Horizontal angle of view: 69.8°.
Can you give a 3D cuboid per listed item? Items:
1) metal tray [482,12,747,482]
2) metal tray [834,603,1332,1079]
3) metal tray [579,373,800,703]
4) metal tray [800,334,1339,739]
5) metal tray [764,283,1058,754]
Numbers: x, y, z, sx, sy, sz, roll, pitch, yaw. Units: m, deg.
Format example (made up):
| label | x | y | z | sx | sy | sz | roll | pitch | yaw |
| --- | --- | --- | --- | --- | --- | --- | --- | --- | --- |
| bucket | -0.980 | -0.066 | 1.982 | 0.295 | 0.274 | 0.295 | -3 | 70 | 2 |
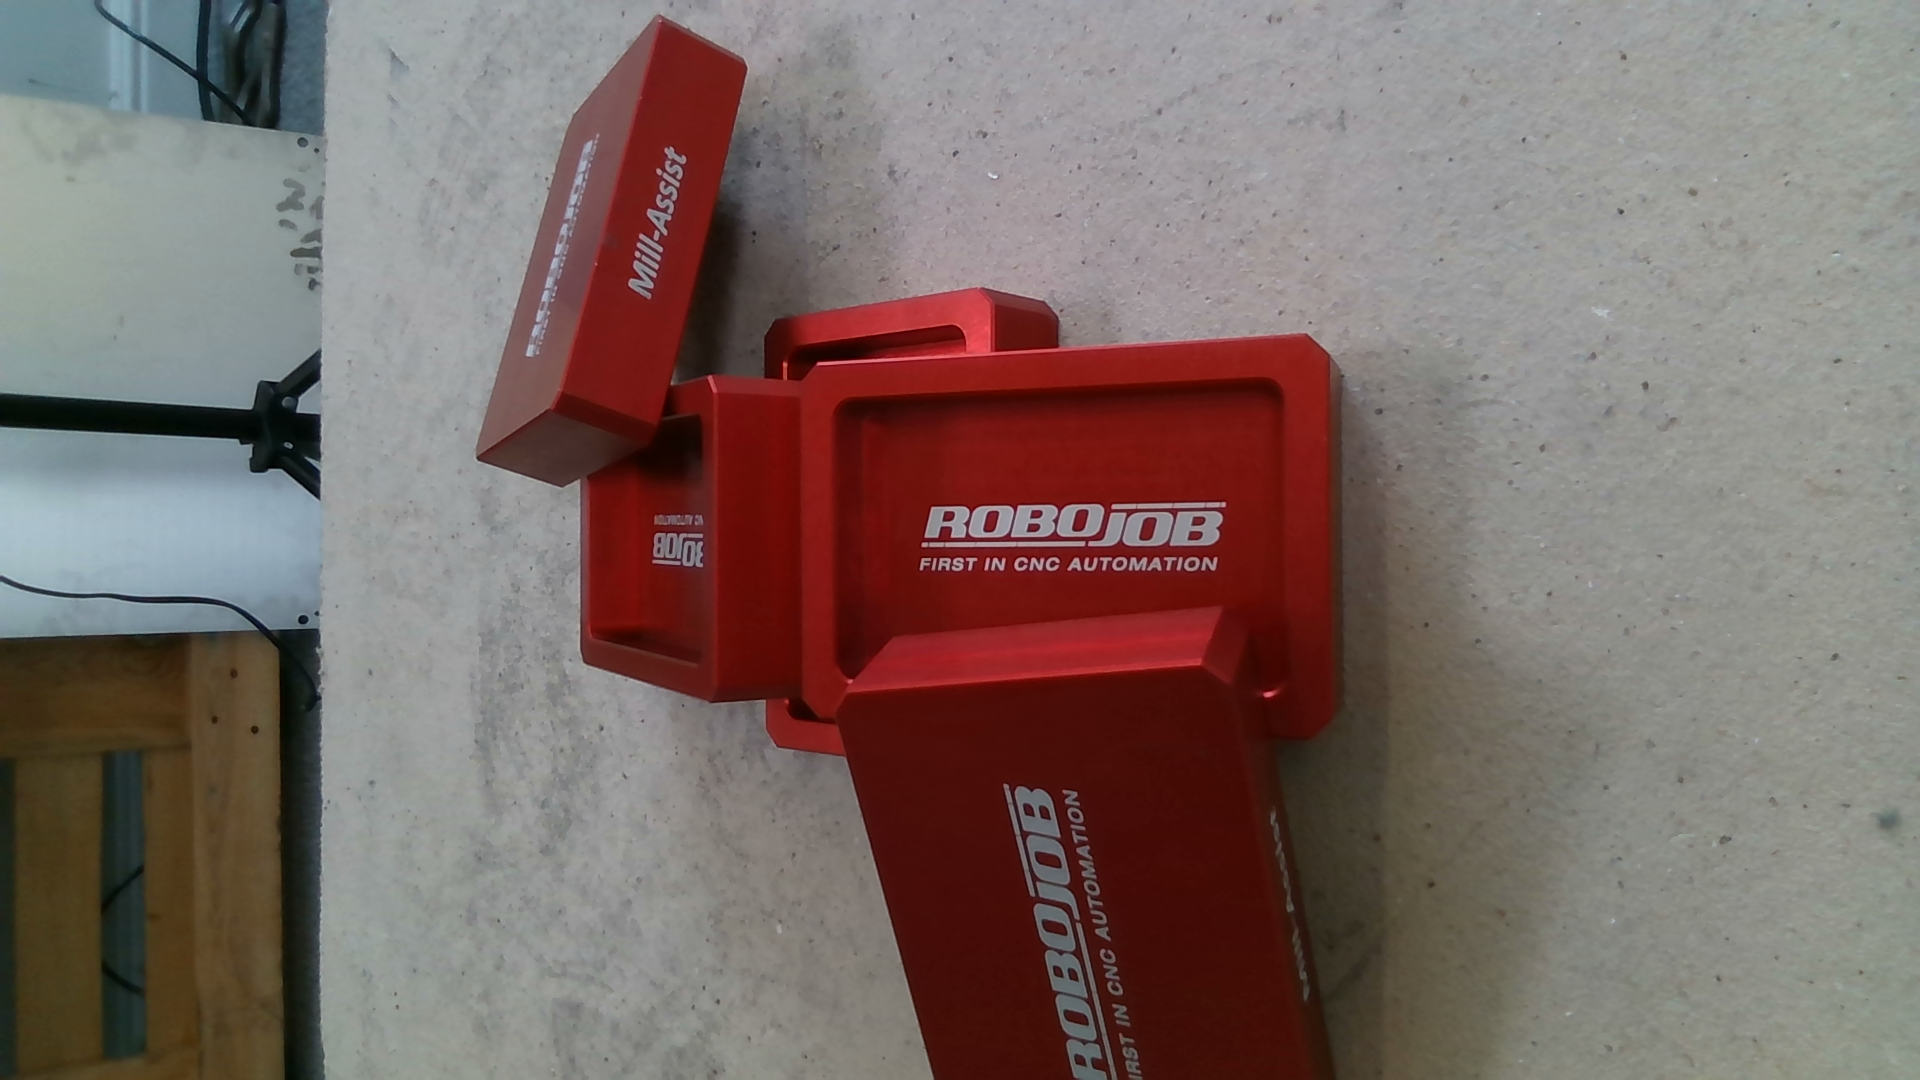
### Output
| label | x | y | z | sx | sy | sz | roll | pitch | yaw |
| --- | --- | --- | --- | --- | --- | --- | --- | --- | --- |
| metal tray | -0.113 | -0.090 | 0.443 | 0.090 | 0.030 | 0.130 | -12 | 64 | 56 |
| metal tray | 0.031 | 0.084 | 0.320 | 0.090 | 0.030 | 0.130 | -7 | 108 | 22 |
| metal tray | -0.087 | -0.001 | 0.435 | 0.130 | 0.030 | 0.090 | 2 | 91 | 59 |
| metal tray | 0.026 | 0.000 | 0.339 | 0.130 | 0.030 | 0.090 | -1 | 90 | 20 |
| metal tray | -0.016 | -0.003 | 0.401 | 0.090 | 0.030 | 0.130 | 0 | 90 | 40 |
